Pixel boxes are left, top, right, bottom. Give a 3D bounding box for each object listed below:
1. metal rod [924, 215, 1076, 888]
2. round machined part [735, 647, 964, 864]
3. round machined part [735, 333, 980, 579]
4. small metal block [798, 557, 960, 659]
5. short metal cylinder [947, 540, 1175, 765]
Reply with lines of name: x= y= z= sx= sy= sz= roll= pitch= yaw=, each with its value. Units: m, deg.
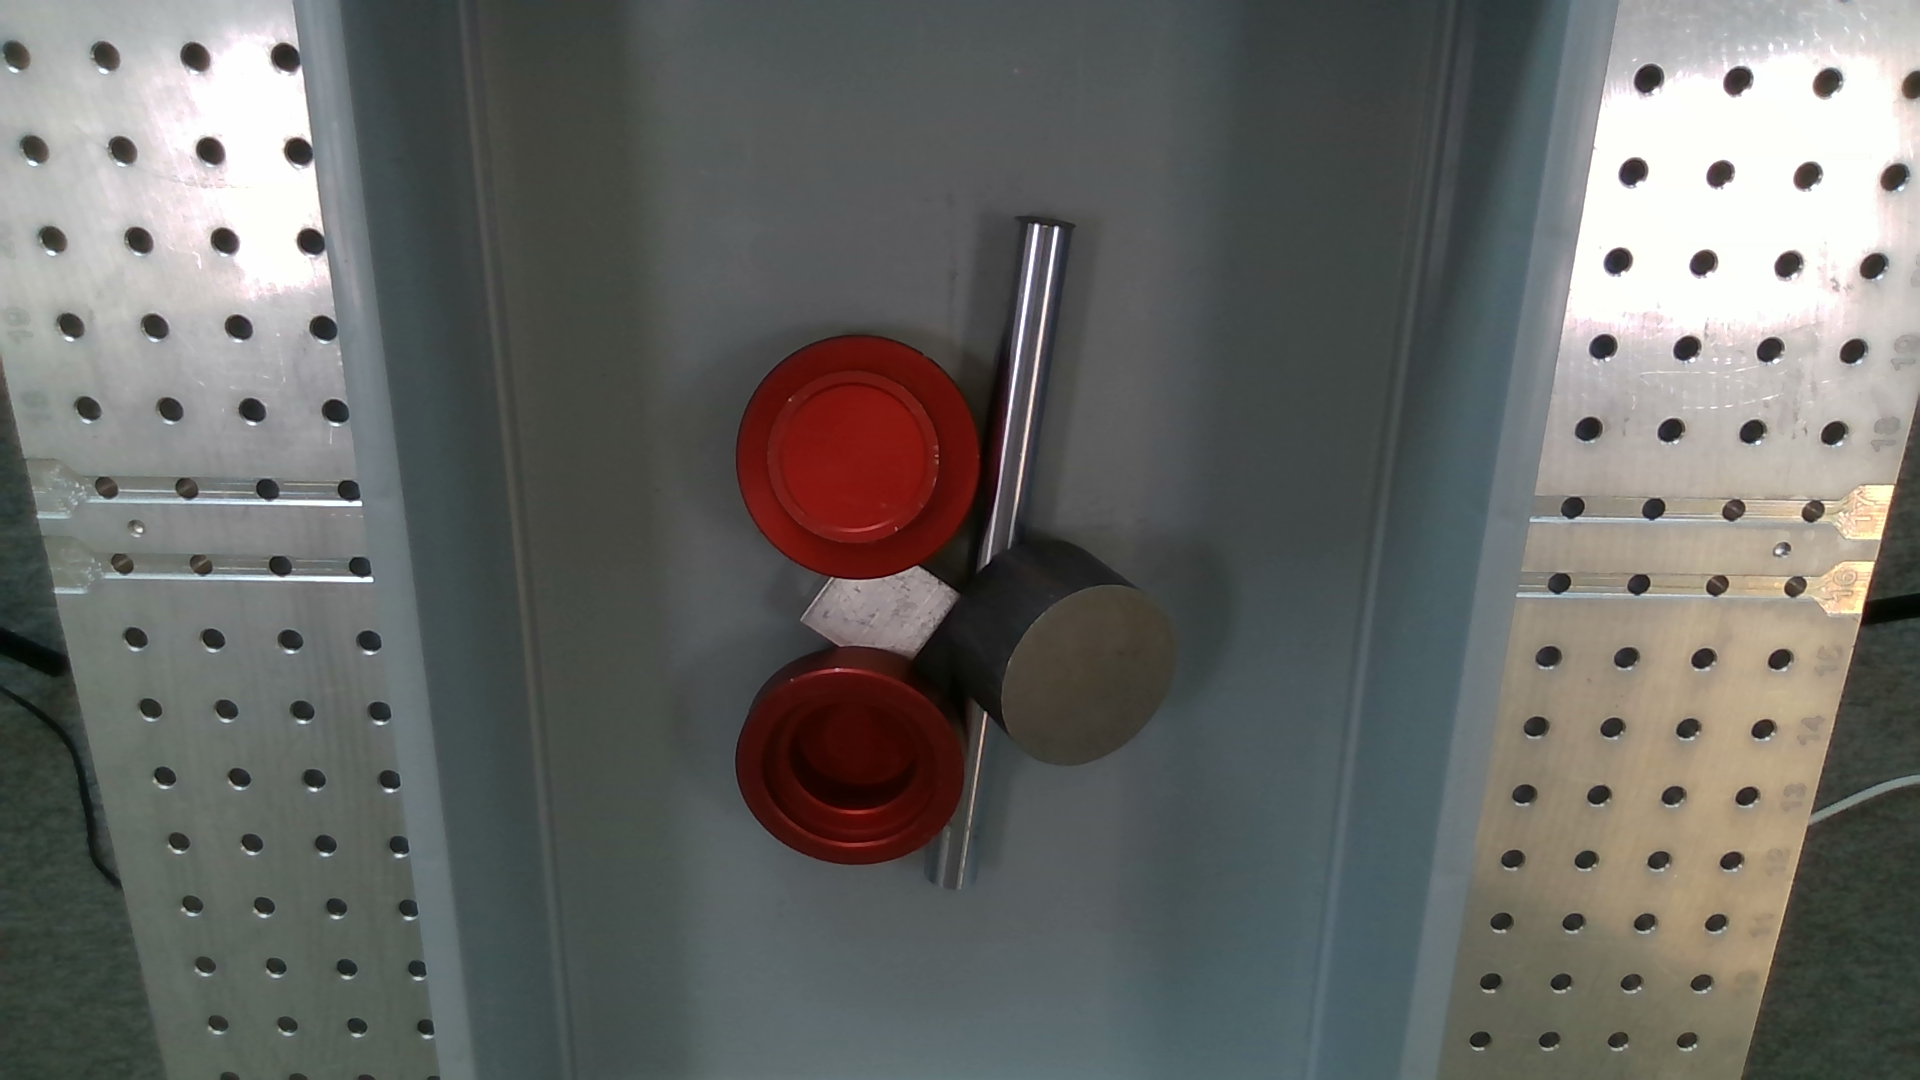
metal rod: x=0.014 y=0.015 z=0.589 sx=0.025 sy=0.025 sz=0.301 roll=7 pitch=110 yaw=-2
round machined part: x=-0.046 y=0.090 z=0.606 sx=0.098 sy=0.042 sz=0.098 roll=1 pitch=113 yaw=2
round machined part: x=-0.041 y=-0.033 z=0.548 sx=0.098 sy=0.042 sz=0.098 roll=0 pitch=92 yaw=1
small metal block: x=-0.034 y=0.025 z=0.593 sx=0.050 sy=0.025 sz=0.050 roll=35 pitch=107 yaw=-12
short metal cylinder: x=0.042 y=0.046 z=0.572 sx=0.080 sy=0.050 sz=0.080 roll=-11 pitch=116 yaw=-23
